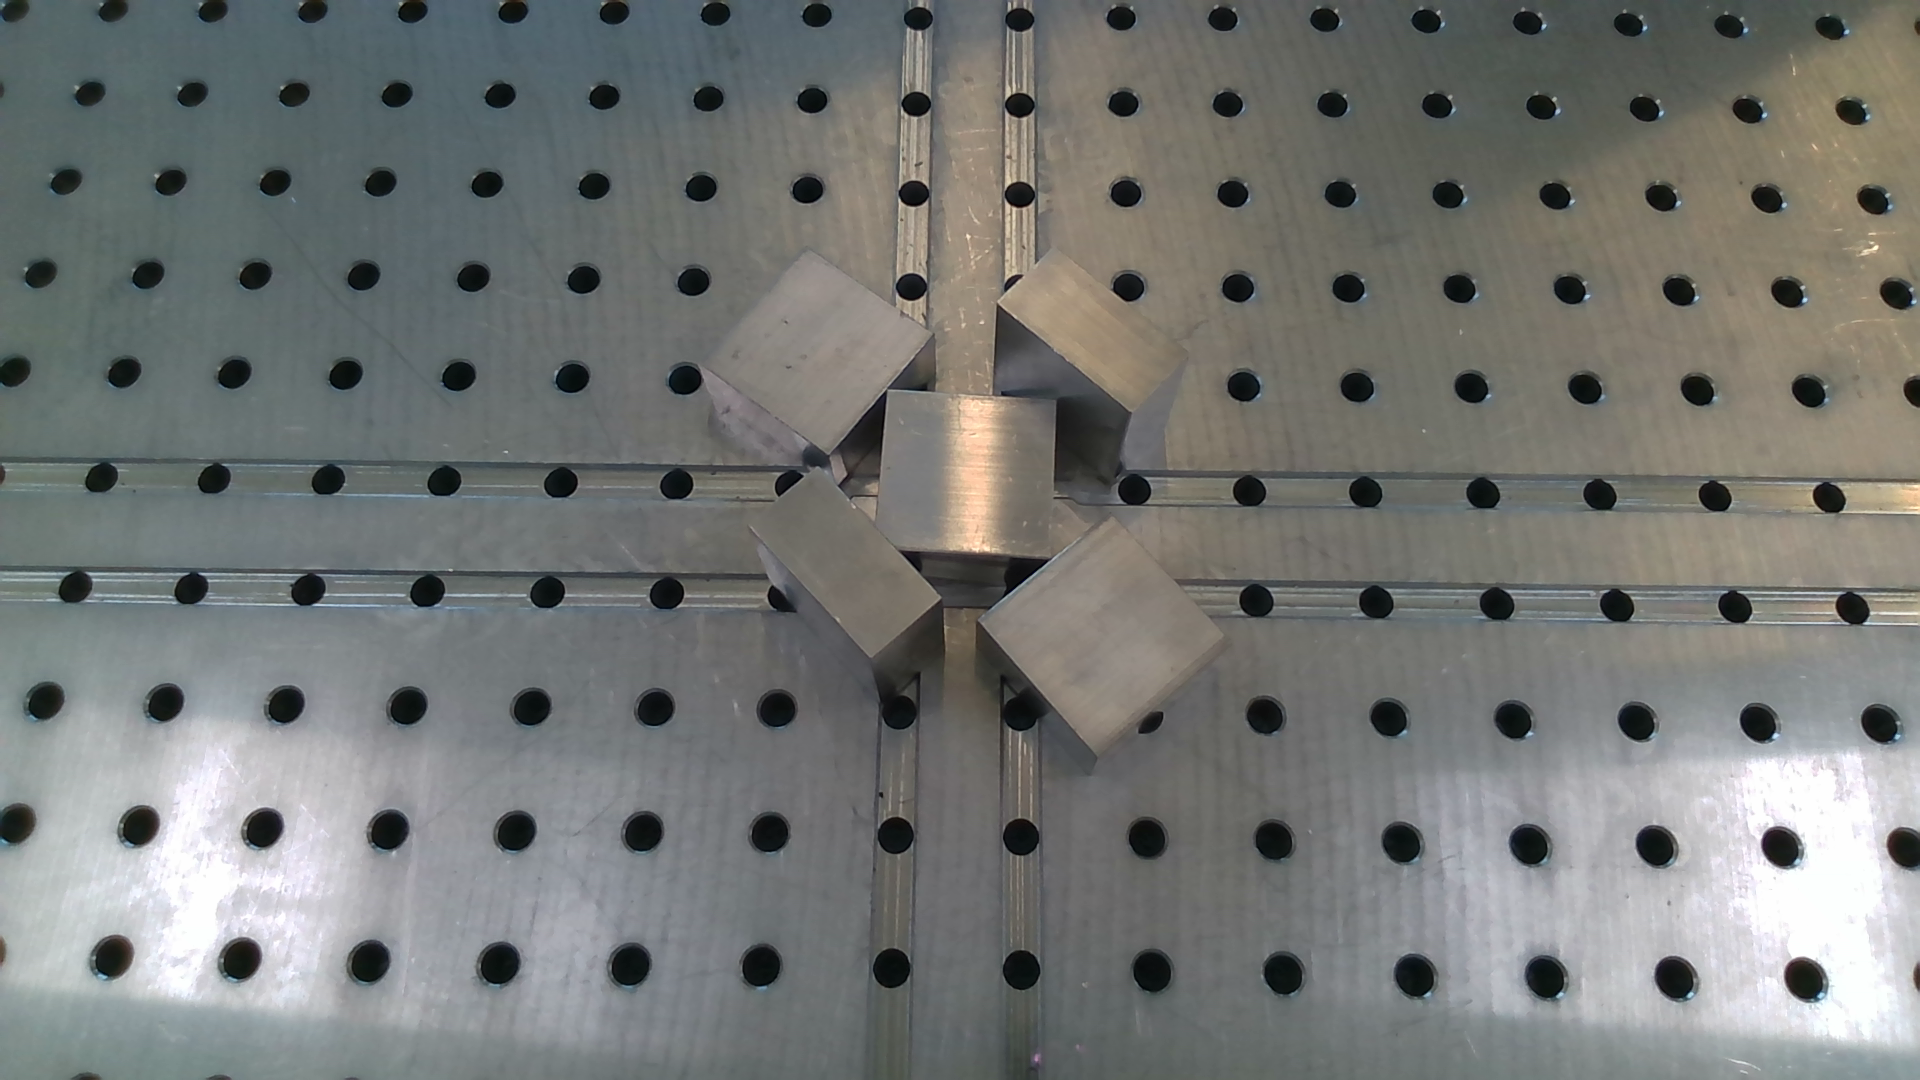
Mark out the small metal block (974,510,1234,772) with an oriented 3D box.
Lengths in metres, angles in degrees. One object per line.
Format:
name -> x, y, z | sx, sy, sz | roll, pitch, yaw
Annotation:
small metal block -> 0.039, 0.029, 0.387 | 0.050, 0.025, 0.050 | -38, 74, -12

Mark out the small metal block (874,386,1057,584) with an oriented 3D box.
small metal block -> 0.002, -0.016, 0.403 | 0.050, 0.025, 0.050 | 4, 69, 0

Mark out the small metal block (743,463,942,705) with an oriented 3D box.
small metal block -> -0.031, 0.014, 0.380 | 0.025, 0.050, 0.050 | -41, 75, -14

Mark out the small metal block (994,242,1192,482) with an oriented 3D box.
small metal block -> 0.037, -0.051, 0.402 | 0.050, 0.050, 0.025 | 42, 76, 14

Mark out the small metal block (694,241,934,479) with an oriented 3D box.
small metal block -> -0.043, -0.053, 0.417 | 0.050, 0.025, 0.050 | 36, 75, 11
